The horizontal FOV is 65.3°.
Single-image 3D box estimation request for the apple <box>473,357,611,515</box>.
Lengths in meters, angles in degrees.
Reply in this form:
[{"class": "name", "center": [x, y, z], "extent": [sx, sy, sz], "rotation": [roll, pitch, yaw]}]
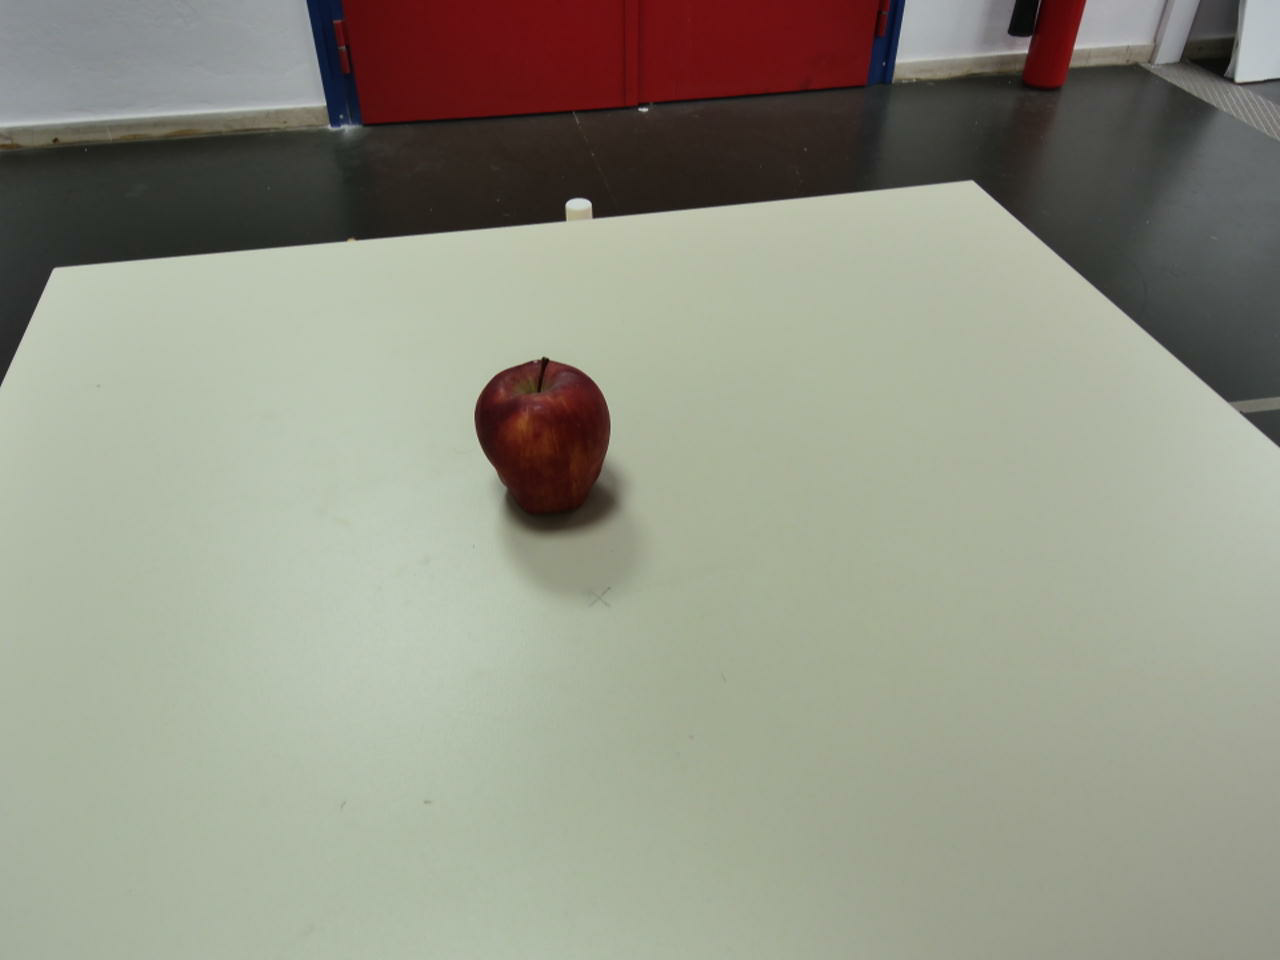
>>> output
[{"class": "apple", "center": [-0.056, -0.030, 0.575], "extent": [0.083, 0.090, 0.083], "rotation": [0, 39, 0]}]
